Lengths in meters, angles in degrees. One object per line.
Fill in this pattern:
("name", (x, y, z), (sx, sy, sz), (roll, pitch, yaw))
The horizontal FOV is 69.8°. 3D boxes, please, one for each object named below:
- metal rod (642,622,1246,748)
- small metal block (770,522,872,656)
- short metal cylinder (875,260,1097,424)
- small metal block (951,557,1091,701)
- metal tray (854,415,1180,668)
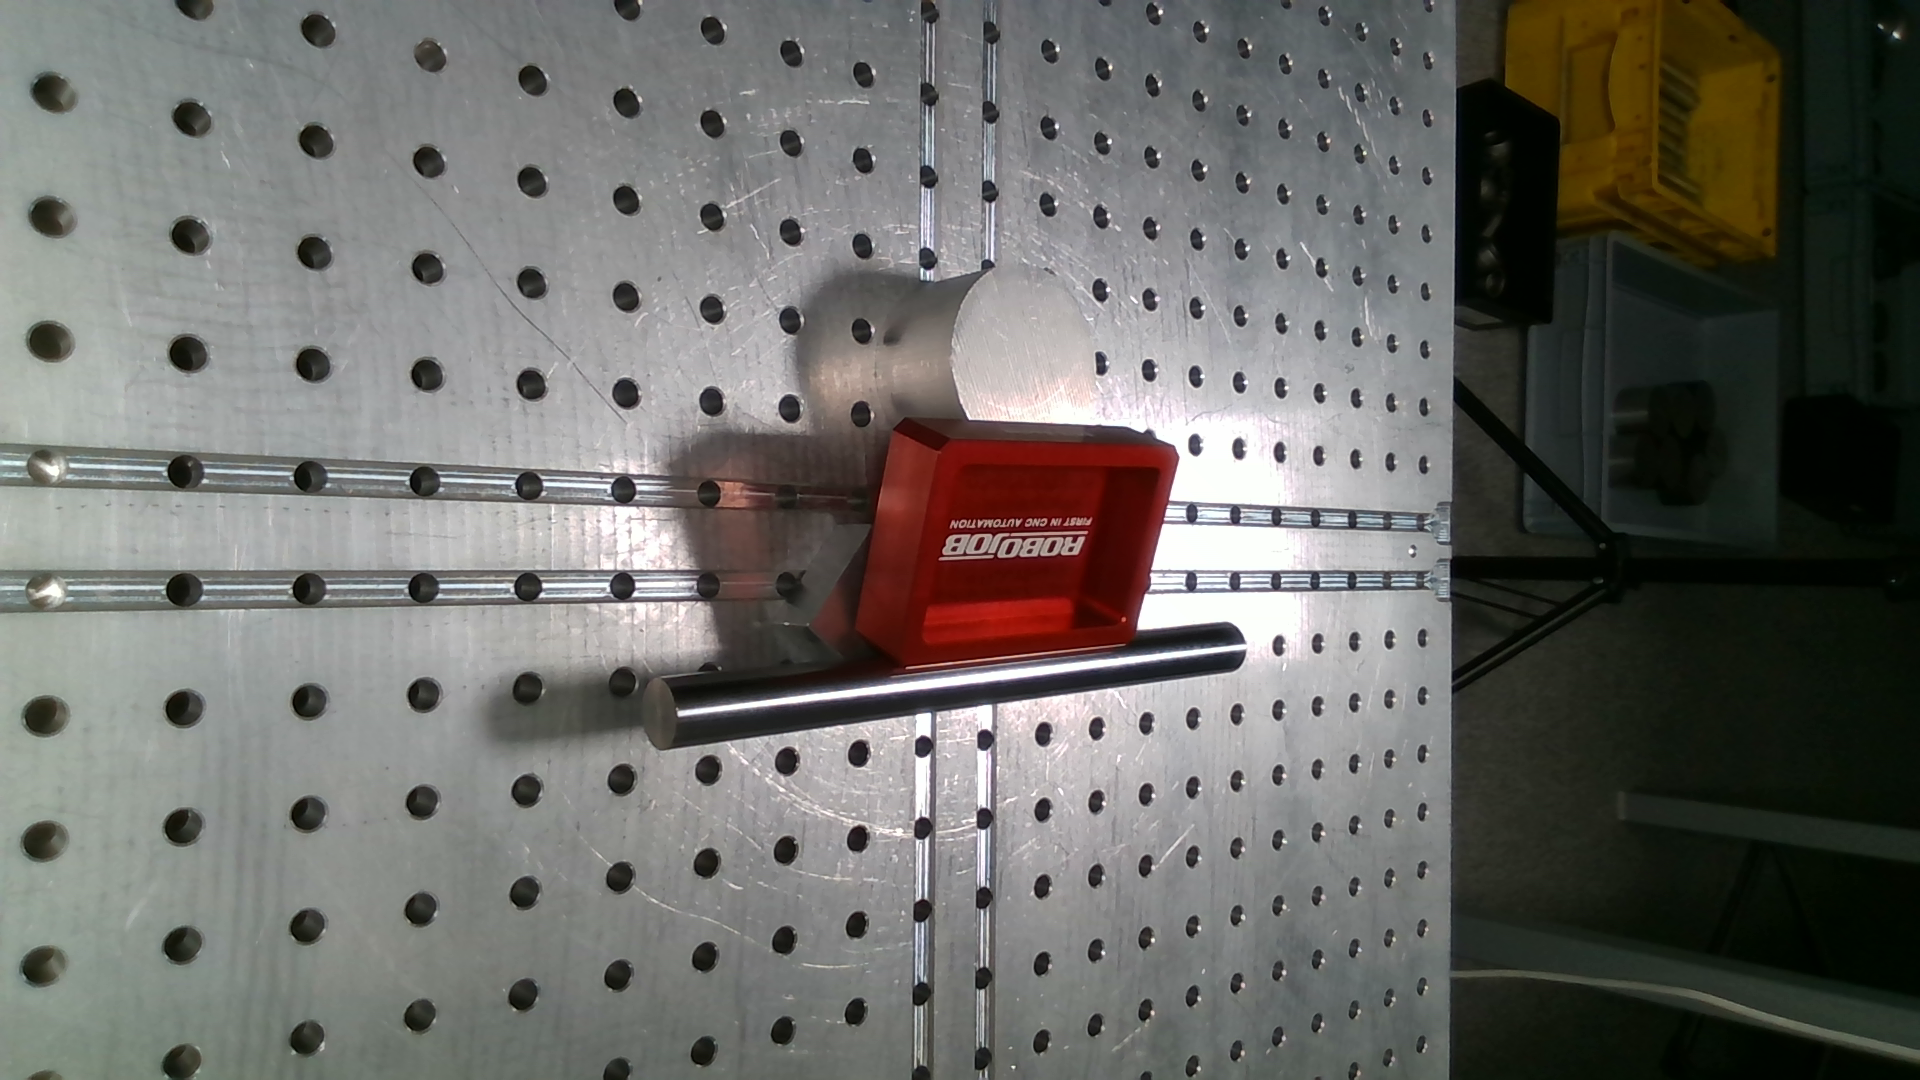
("metal rod", (0.013, 0.054, 0.564), (0.300, 0.025, 0.025), (-2, 91, -40))
("small metal block", (-0.039, 0.028, 0.552), (0.050, 0.025, 0.050), (46, 62, -30))
("short metal cylinder", (0.012, -0.073, 0.578), (0.080, 0.050, 0.080), (0, 90, -40))
("small metal block", (0.027, 0.038, 0.610), (0.050, 0.025, 0.050), (-20, 102, -39))
("metal tray", (0.025, -0.001, 0.552), (0.130, 0.030, 0.090), (-2, 111, -40))
